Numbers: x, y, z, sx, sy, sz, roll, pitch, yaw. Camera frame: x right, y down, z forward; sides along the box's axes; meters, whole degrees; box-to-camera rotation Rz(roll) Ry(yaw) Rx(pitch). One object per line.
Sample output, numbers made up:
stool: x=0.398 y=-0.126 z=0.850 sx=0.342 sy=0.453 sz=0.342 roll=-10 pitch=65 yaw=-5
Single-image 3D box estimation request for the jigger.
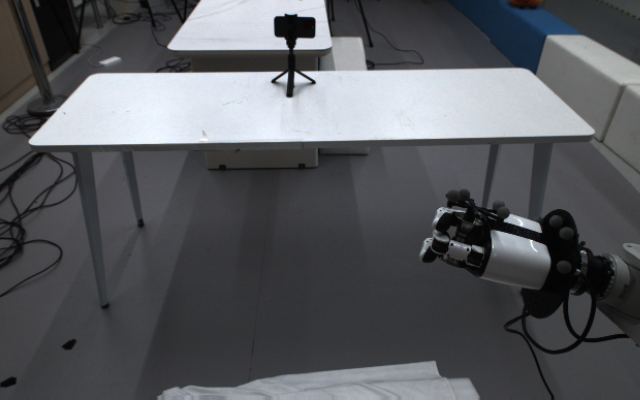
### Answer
jigger: x=0.204 y=0.056 z=0.698 sx=0.043 sy=0.071 sz=0.043 roll=15 pitch=17 yaw=-5
